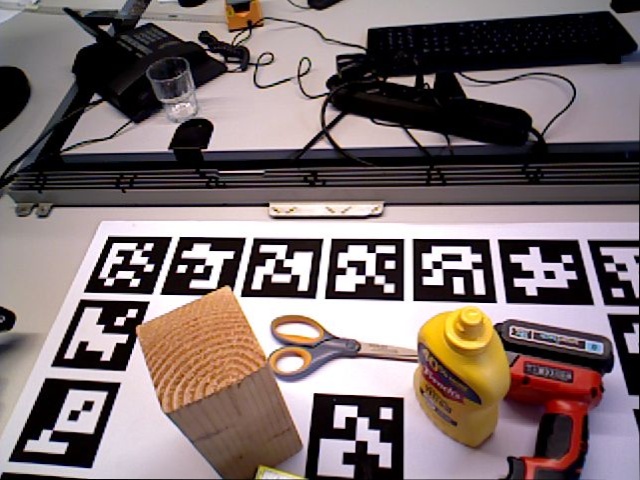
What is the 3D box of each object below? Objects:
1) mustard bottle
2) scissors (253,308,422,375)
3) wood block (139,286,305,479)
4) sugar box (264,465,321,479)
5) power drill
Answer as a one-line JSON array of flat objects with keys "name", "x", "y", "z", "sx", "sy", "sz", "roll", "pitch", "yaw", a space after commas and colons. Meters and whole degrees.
[{"name": "mustard bottle", "x": 0.138, "y": 0.119, "z": 0.503, "sx": 0.057, "sy": 0.195, "sz": 0.096, "roll": -32, "pitch": 55, "yaw": -17}, {"name": "scissors", "x": 0.014, "y": 0.120, "z": 0.623, "sx": 0.203, "sy": 0.016, "sz": 0.086, "roll": 2, "pitch": 49, "yaw": 10}, {"name": "wood block", "x": -0.083, "y": 0.144, "z": 0.511, "sx": 0.090, "sy": 0.210, "sz": 0.089, "roll": -22, "pitch": 53, "yaw": -10}, {"name": "sugar box", "x": 0.036, "y": 0.253, "z": 0.470, "sx": 0.177, "sy": 0.095, "sz": 0.044, "roll": 11, "pitch": 50, "yaw": 14}, {"name": "power drill", "x": 0.186, "y": 0.196, "z": 0.511, "sx": 0.185, "sy": 0.058, "sz": 0.184, "roll": 11, "pitch": 62, "yaw": 17}]
